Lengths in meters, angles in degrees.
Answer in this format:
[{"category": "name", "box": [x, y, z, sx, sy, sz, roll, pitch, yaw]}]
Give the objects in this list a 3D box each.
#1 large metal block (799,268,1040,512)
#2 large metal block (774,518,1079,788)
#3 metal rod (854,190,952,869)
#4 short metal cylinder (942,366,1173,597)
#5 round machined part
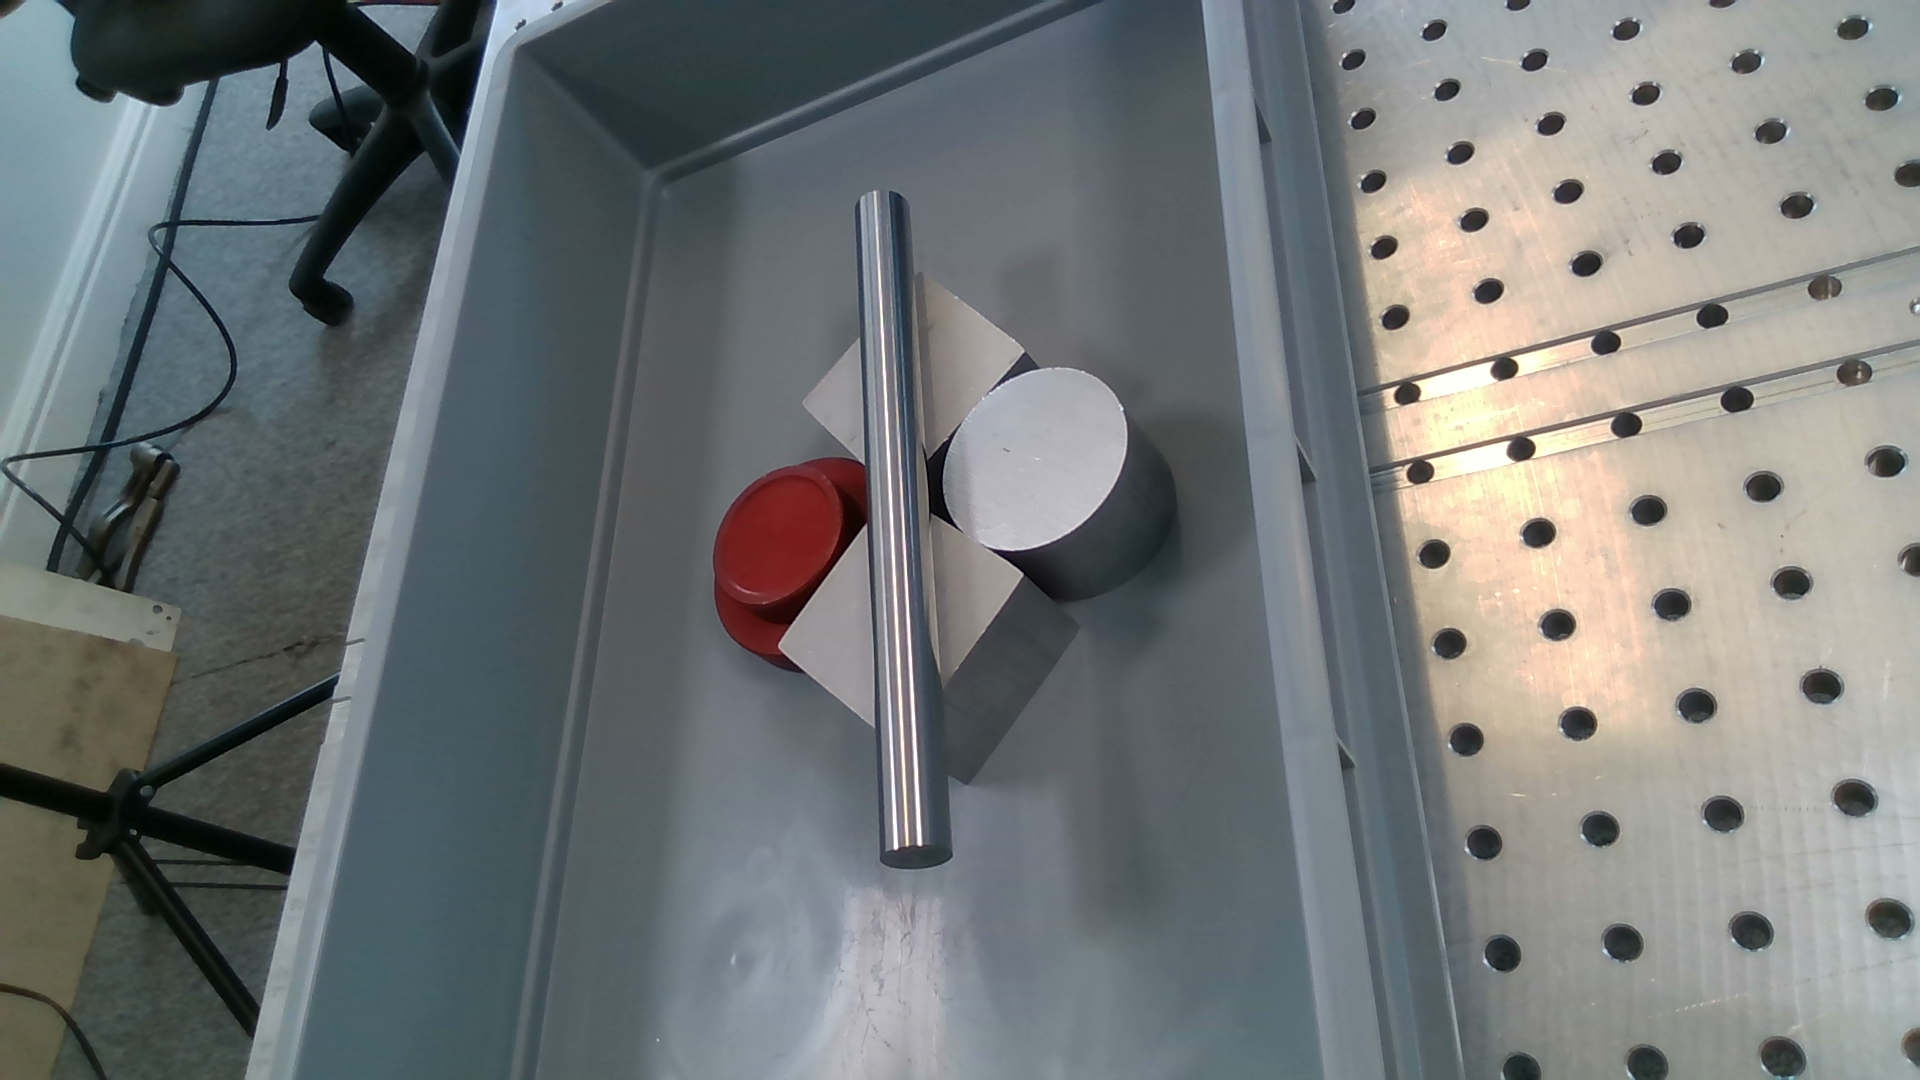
[{"category": "large metal block", "box": [-0.010, -0.060, 0.606, 0.080, 0.050, 0.080, -48, 51, 3]}, {"category": "large metal block", "box": [-0.014, 0.039, 0.553, 0.080, 0.050, 0.080, 33, 85, 40]}, {"category": "metal rod", "box": [-0.025, -0.020, 0.544, 0.025, 0.025, 0.299, -19, 57, 22]}, {"category": "short metal cylinder", "box": [0.040, -0.022, 0.555, 0.080, 0.050, 0.080, -14, 59, 25]}, {"category": "round machined part", "box": [-0.071, 0.006, 0.614, 0.098, 0.042, 0.098, -14, 59, 25]}]
